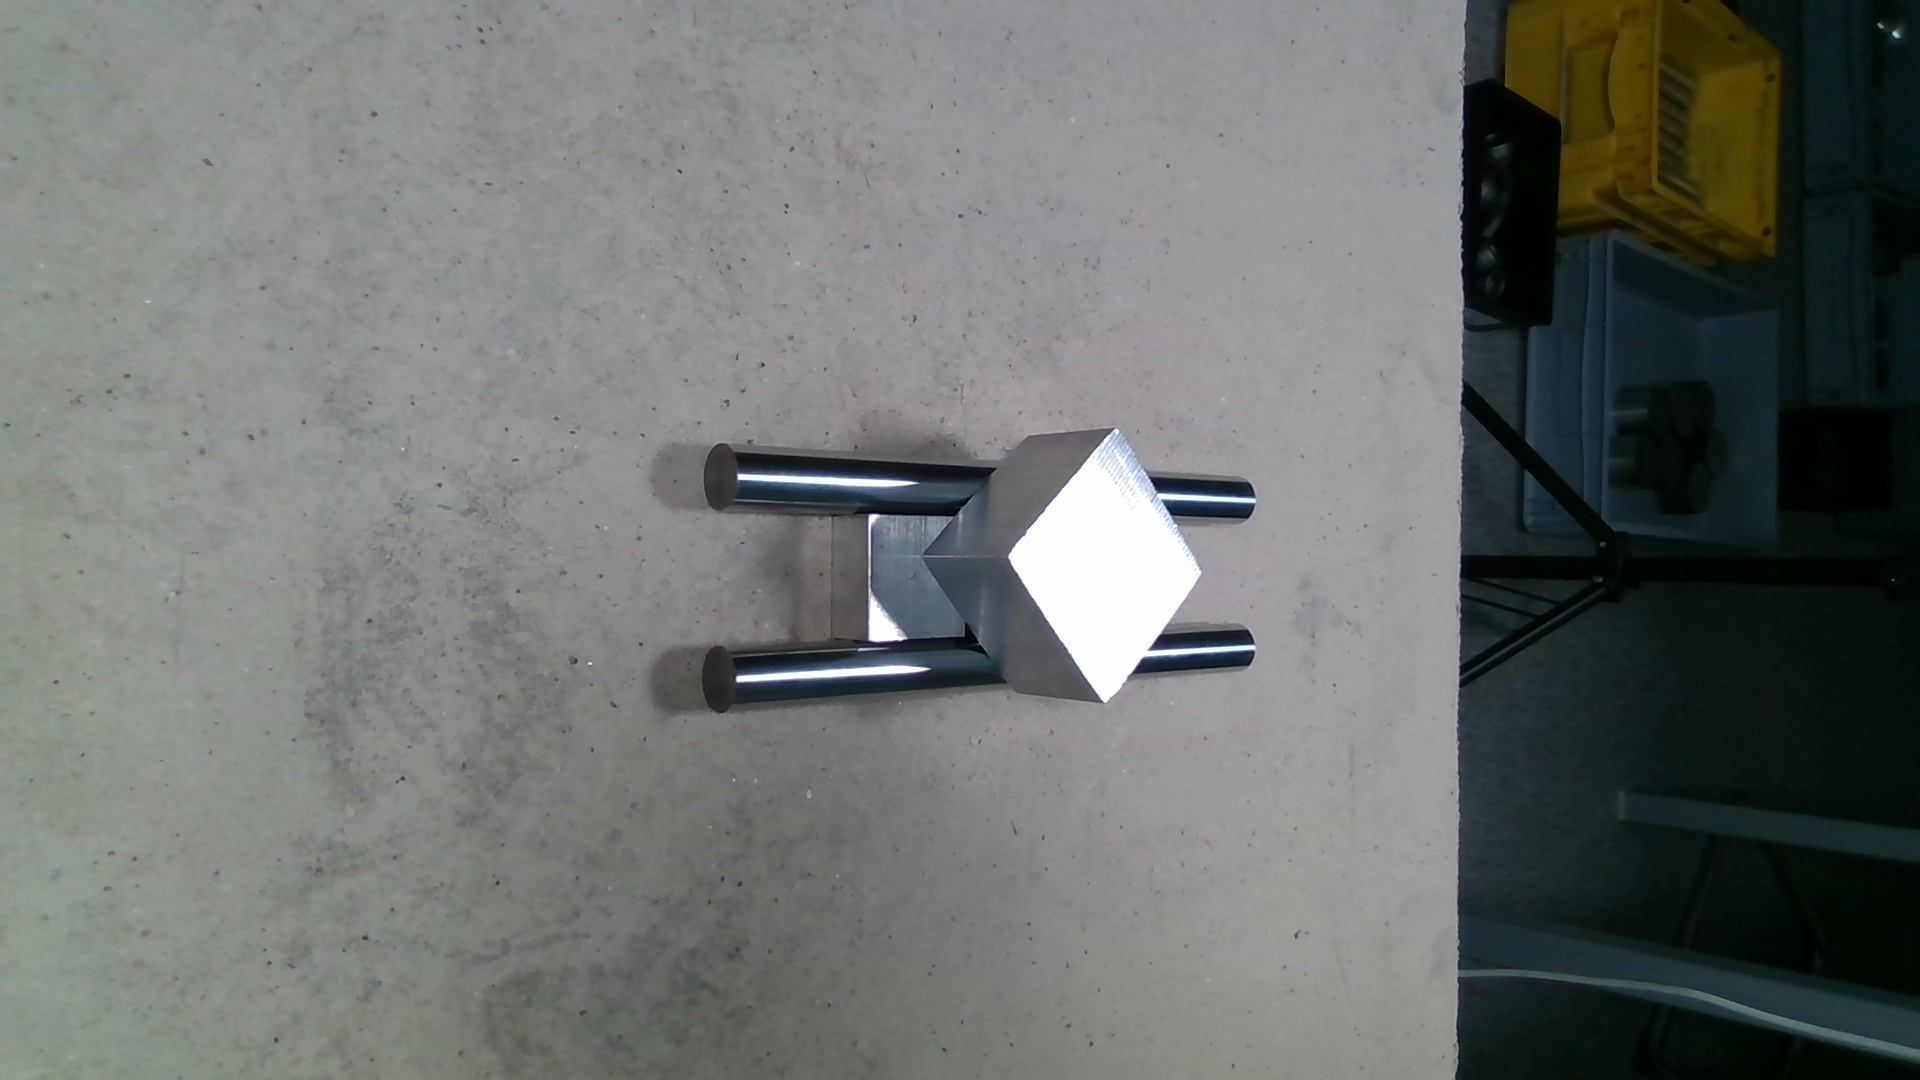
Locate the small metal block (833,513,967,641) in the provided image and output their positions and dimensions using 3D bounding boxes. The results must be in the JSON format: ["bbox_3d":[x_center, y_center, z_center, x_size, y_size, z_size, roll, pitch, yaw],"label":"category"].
[{"bbox_3d":[-0.024,0.015,0.562,0.050,0.025,0.050,1,89,-40],"label":"small metal block"}]

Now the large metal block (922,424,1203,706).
[{"bbox_3d":[0.044,0.010,0.569,0.080,0.050,0.080,-49,119,-29],"label":"large metal block"}]

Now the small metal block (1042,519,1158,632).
[{"bbox_3d":[0.065,0.016,0.637,0.050,0.025,0.050,1,89,-40],"label":"small metal block"}]

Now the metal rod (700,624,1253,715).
[{"bbox_3d":[0.025,0.054,0.605,0.300,0.025,0.025,1,89,-40],"label":"metal rod"}]

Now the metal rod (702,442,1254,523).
[{"bbox_3d":[0.025,-0.022,0.605,0.300,0.025,0.025,1,89,-40],"label":"metal rod"}]
